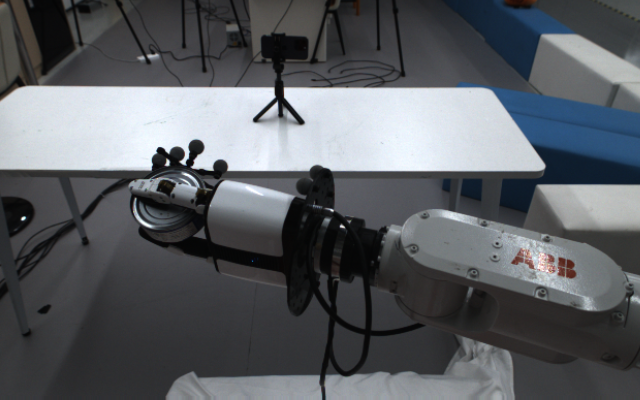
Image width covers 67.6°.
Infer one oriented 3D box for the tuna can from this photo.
[{"bbox_3d":[-0.169,0.004,0.554,0.085,0.034,0.085,-3,57,4],"label":"tuna can"}]
